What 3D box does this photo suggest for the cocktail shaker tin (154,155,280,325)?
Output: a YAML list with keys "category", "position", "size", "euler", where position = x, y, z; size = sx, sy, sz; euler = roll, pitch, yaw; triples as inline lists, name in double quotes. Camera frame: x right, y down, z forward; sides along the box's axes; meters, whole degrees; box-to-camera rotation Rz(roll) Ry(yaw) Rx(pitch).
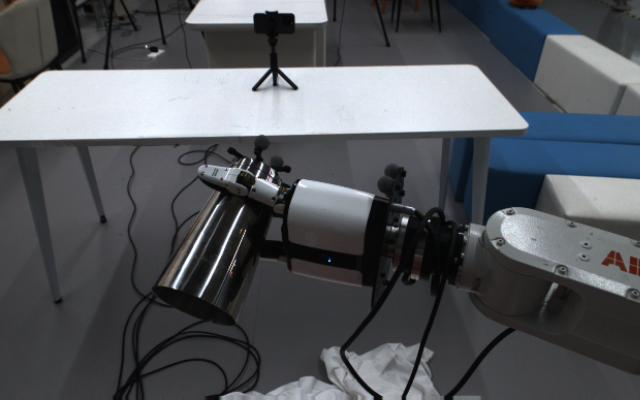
- category: "cocktail shaker tin"
  position: [-0.102, 0.037, 0.531]
  size: [0.093, 0.093, 0.170]
  euler: [13, 59, 16]
